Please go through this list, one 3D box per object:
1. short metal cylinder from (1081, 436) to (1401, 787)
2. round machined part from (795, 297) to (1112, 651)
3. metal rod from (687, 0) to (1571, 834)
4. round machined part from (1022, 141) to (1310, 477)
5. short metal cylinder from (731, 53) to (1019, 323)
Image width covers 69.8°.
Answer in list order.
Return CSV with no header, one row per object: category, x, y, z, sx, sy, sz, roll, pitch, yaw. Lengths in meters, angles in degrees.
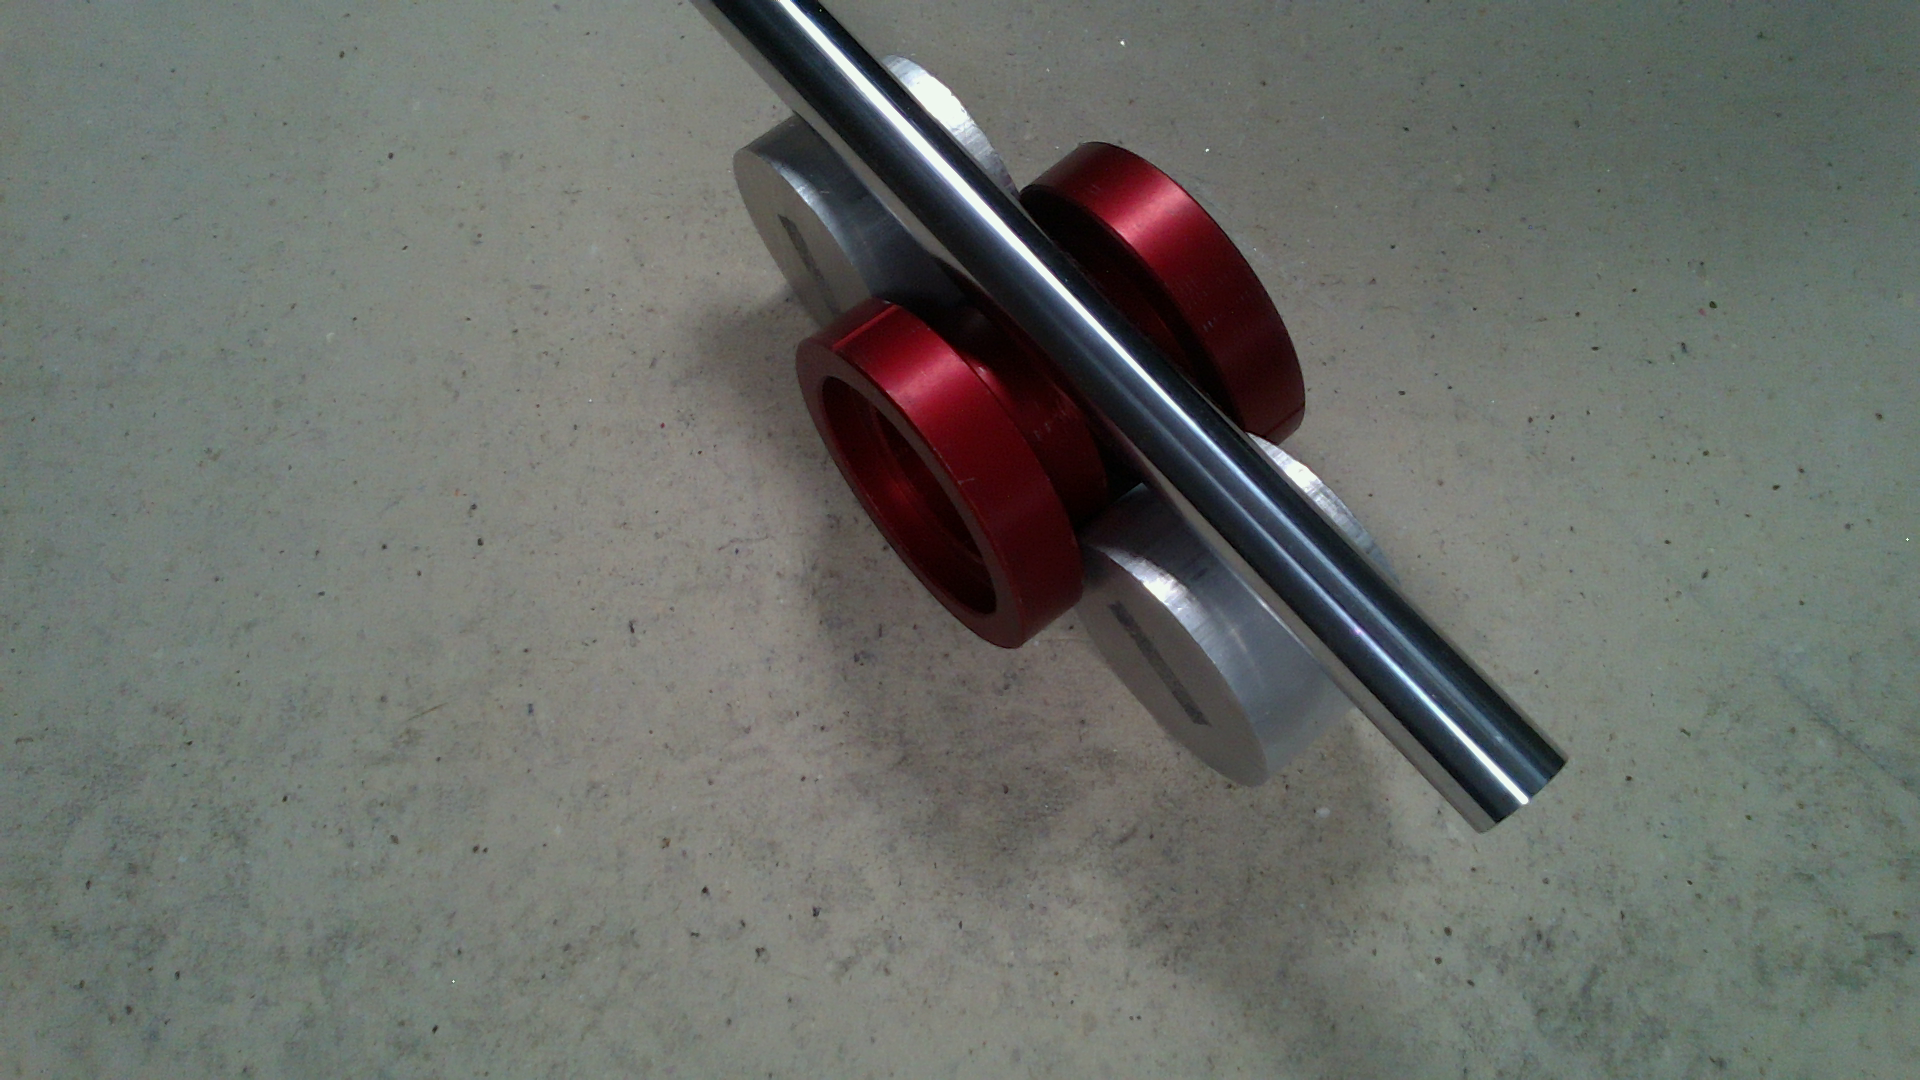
short metal cylinder,0.070,0.017,0.359,0.050,0.080,0.080,-37,74,-12
round machined part,0.002,-0.022,0.363,0.042,0.098,0.098,-36,74,-16
metal rod,0.023,-0.054,0.330,0.025,0.025,0.300,-38,74,-13
round machined part,0.046,-0.055,0.376,0.042,0.098,0.098,-39,74,-8
short metal cylinder,-0.022,-0.091,0.398,0.050,0.080,0.080,-37,74,-12
